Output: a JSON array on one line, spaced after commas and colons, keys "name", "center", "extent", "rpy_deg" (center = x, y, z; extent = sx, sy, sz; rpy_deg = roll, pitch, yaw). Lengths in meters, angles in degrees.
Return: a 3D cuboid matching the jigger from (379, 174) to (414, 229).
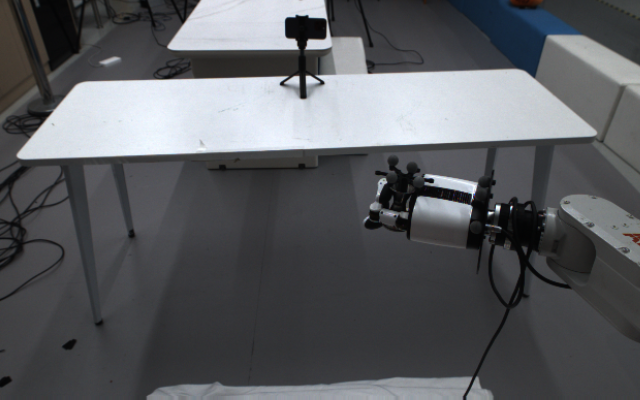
[{"name": "jigger", "center": [0.125, 0.009, 0.760], "extent": [0.043, 0.071, 0.043], "rpy_deg": [6, 26, -3]}]
